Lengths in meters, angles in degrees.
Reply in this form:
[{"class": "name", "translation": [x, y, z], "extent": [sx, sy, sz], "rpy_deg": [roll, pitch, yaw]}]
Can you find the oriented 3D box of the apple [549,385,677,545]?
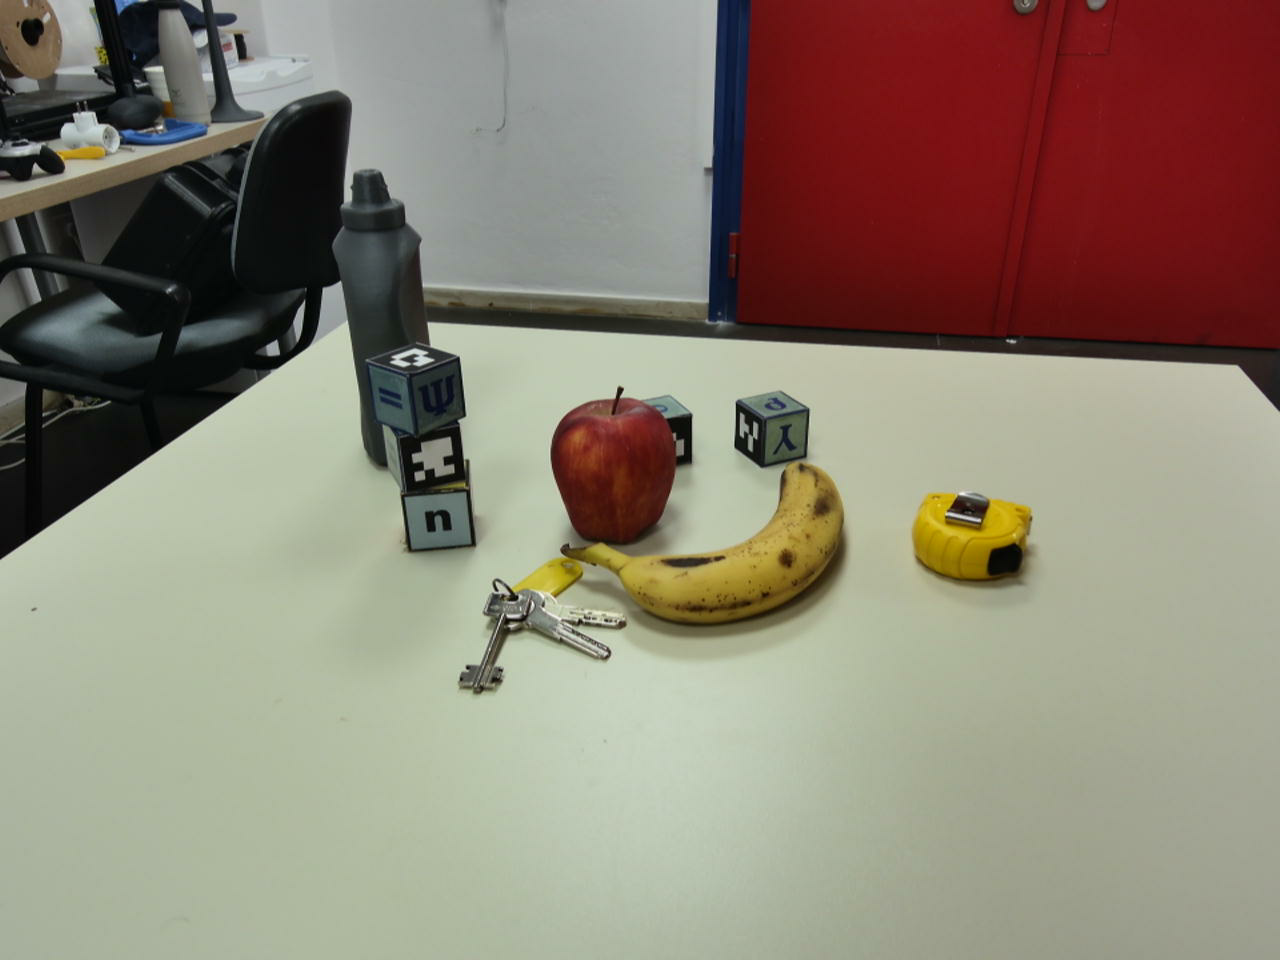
[{"class": "apple", "translation": [-0.017, -0.013, 0.593], "extent": [0.083, 0.090, 0.083], "rpy_deg": [-1, 26, 1]}]
